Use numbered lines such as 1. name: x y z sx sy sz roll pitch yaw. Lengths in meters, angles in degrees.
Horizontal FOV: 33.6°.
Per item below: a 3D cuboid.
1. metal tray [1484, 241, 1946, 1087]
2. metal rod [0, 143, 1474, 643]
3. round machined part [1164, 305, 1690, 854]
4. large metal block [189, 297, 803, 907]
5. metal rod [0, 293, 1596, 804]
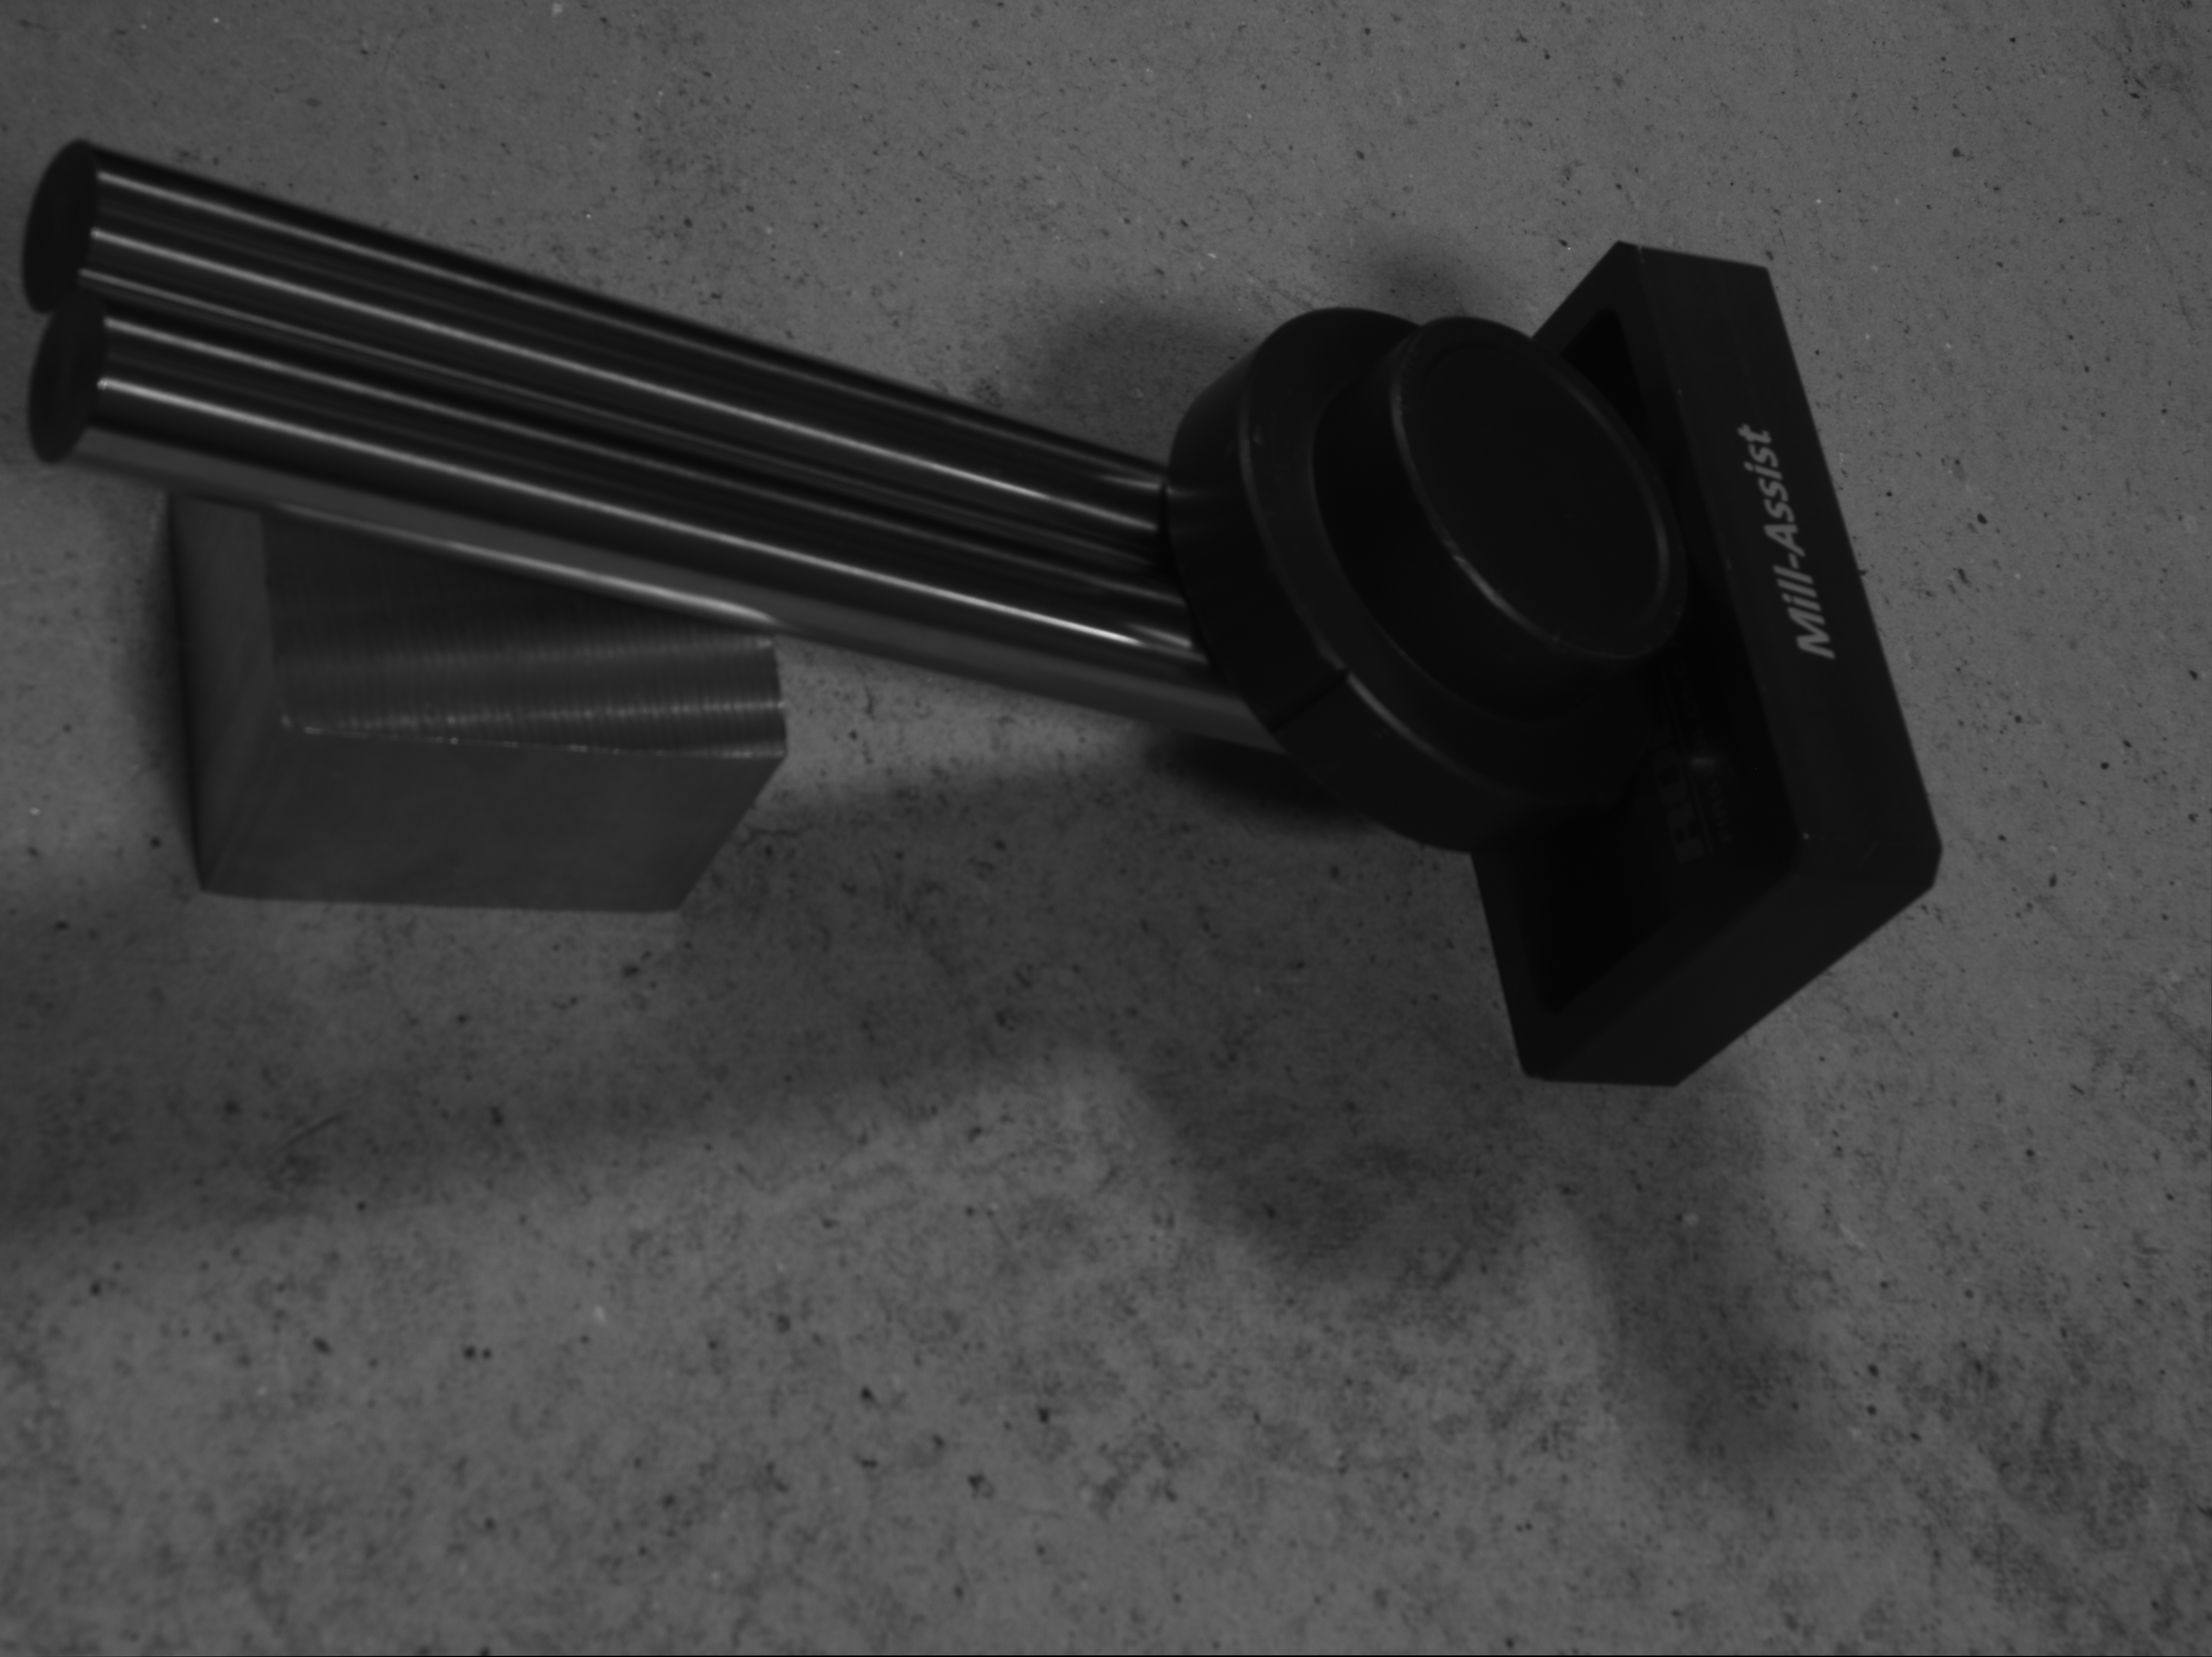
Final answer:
1. metal tray: 0.100 -0.029 0.669 0.030 0.090 0.130 4 60 -26
2. metal rod: -0.035 -0.061 0.601 0.301 0.025 0.025 10 56 -38
3. round machined part: 0.061 -0.048 0.629 0.098 0.042 0.098 21 52 -29
4. large metal block: -0.100 -0.036 0.588 0.080 0.050 0.080 3 60 -26
5. metal rod: -0.031 -0.037 0.589 0.301 0.025 0.025 11 56 -37
